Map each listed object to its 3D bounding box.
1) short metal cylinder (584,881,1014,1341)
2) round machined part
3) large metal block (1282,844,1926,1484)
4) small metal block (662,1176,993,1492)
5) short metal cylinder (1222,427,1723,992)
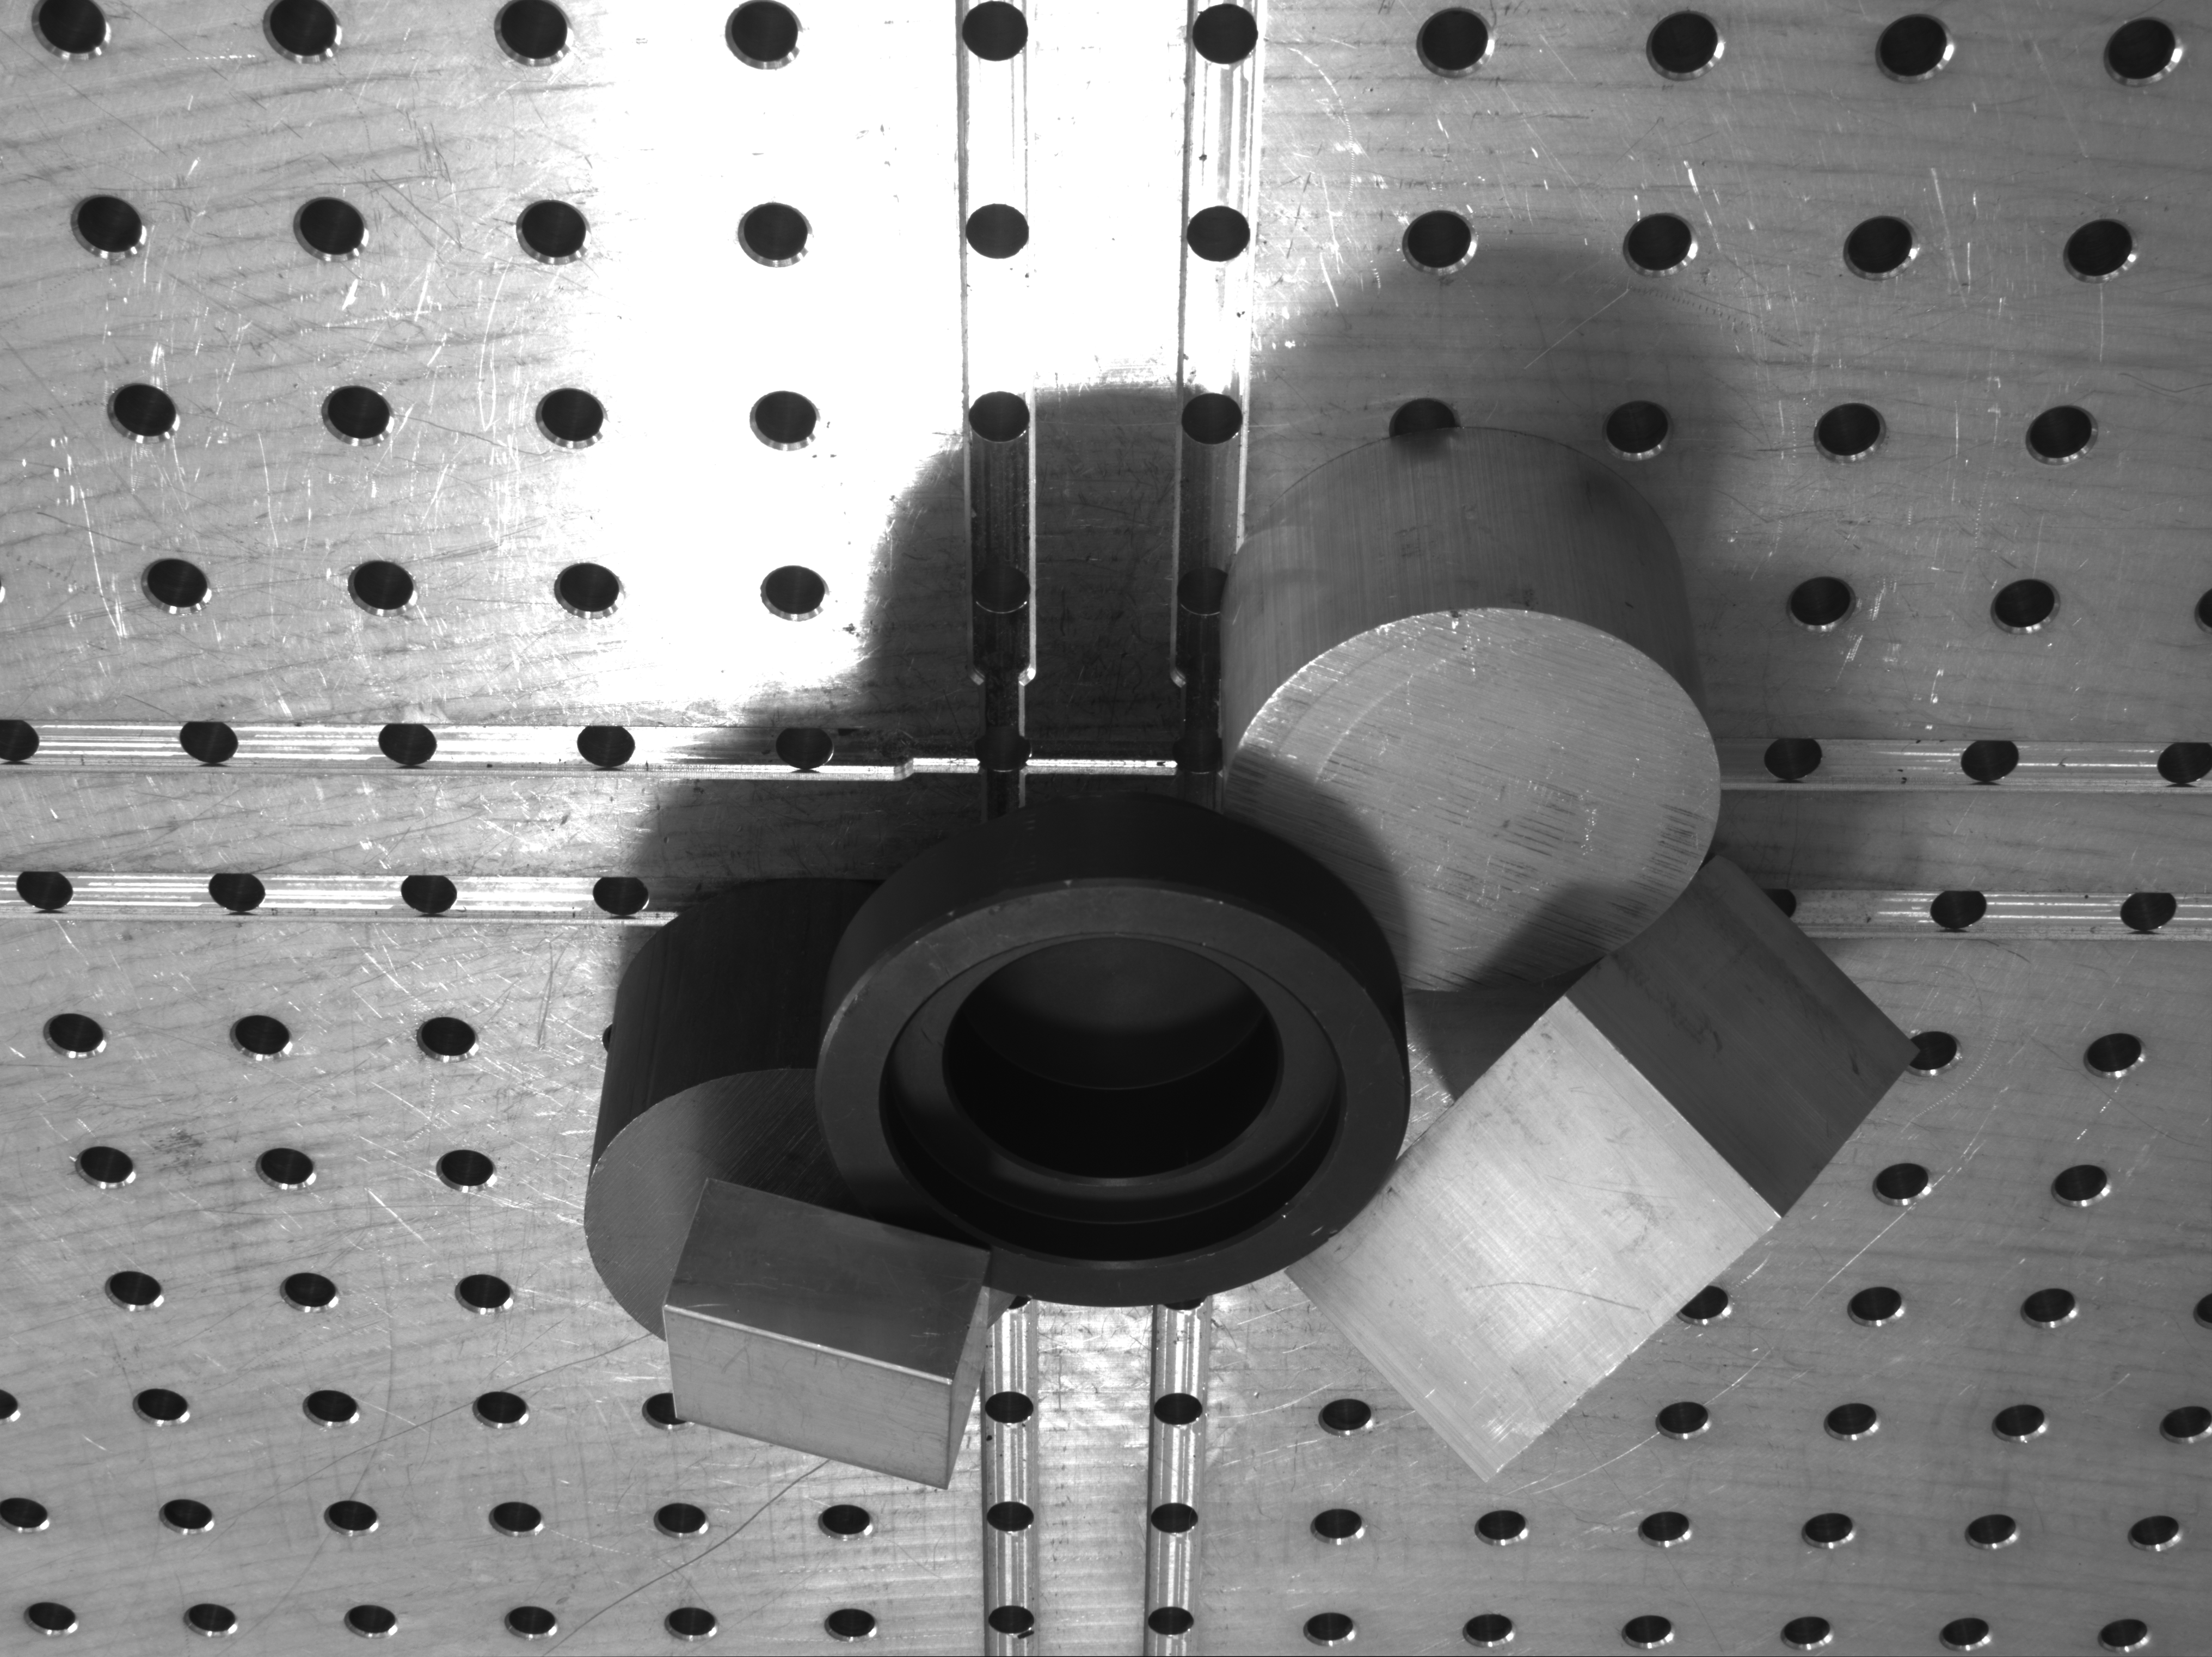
[{"bbox_3d":[-0.053,0.056,0.673,0.080,0.050,0.080,0,130,0],"label":"short metal cylinder"},{"bbox_3d":[0.001,0.032,0.621,0.098,0.042,0.098,0,130,0],"label":"round machined part"},{"bbox_3d":[0.088,0.058,0.647,0.050,0.080,0.080,46,122,8],"label":"large metal block"},{"bbox_3d":[-0.048,0.088,0.635,0.050,0.025,0.050,14,149,4],"label":"small metal block"},{"bbox_3d":[0.059,-0.019,0.610,0.080,0.050,0.080,0,130,0],"label":"short metal cylinder"}]
